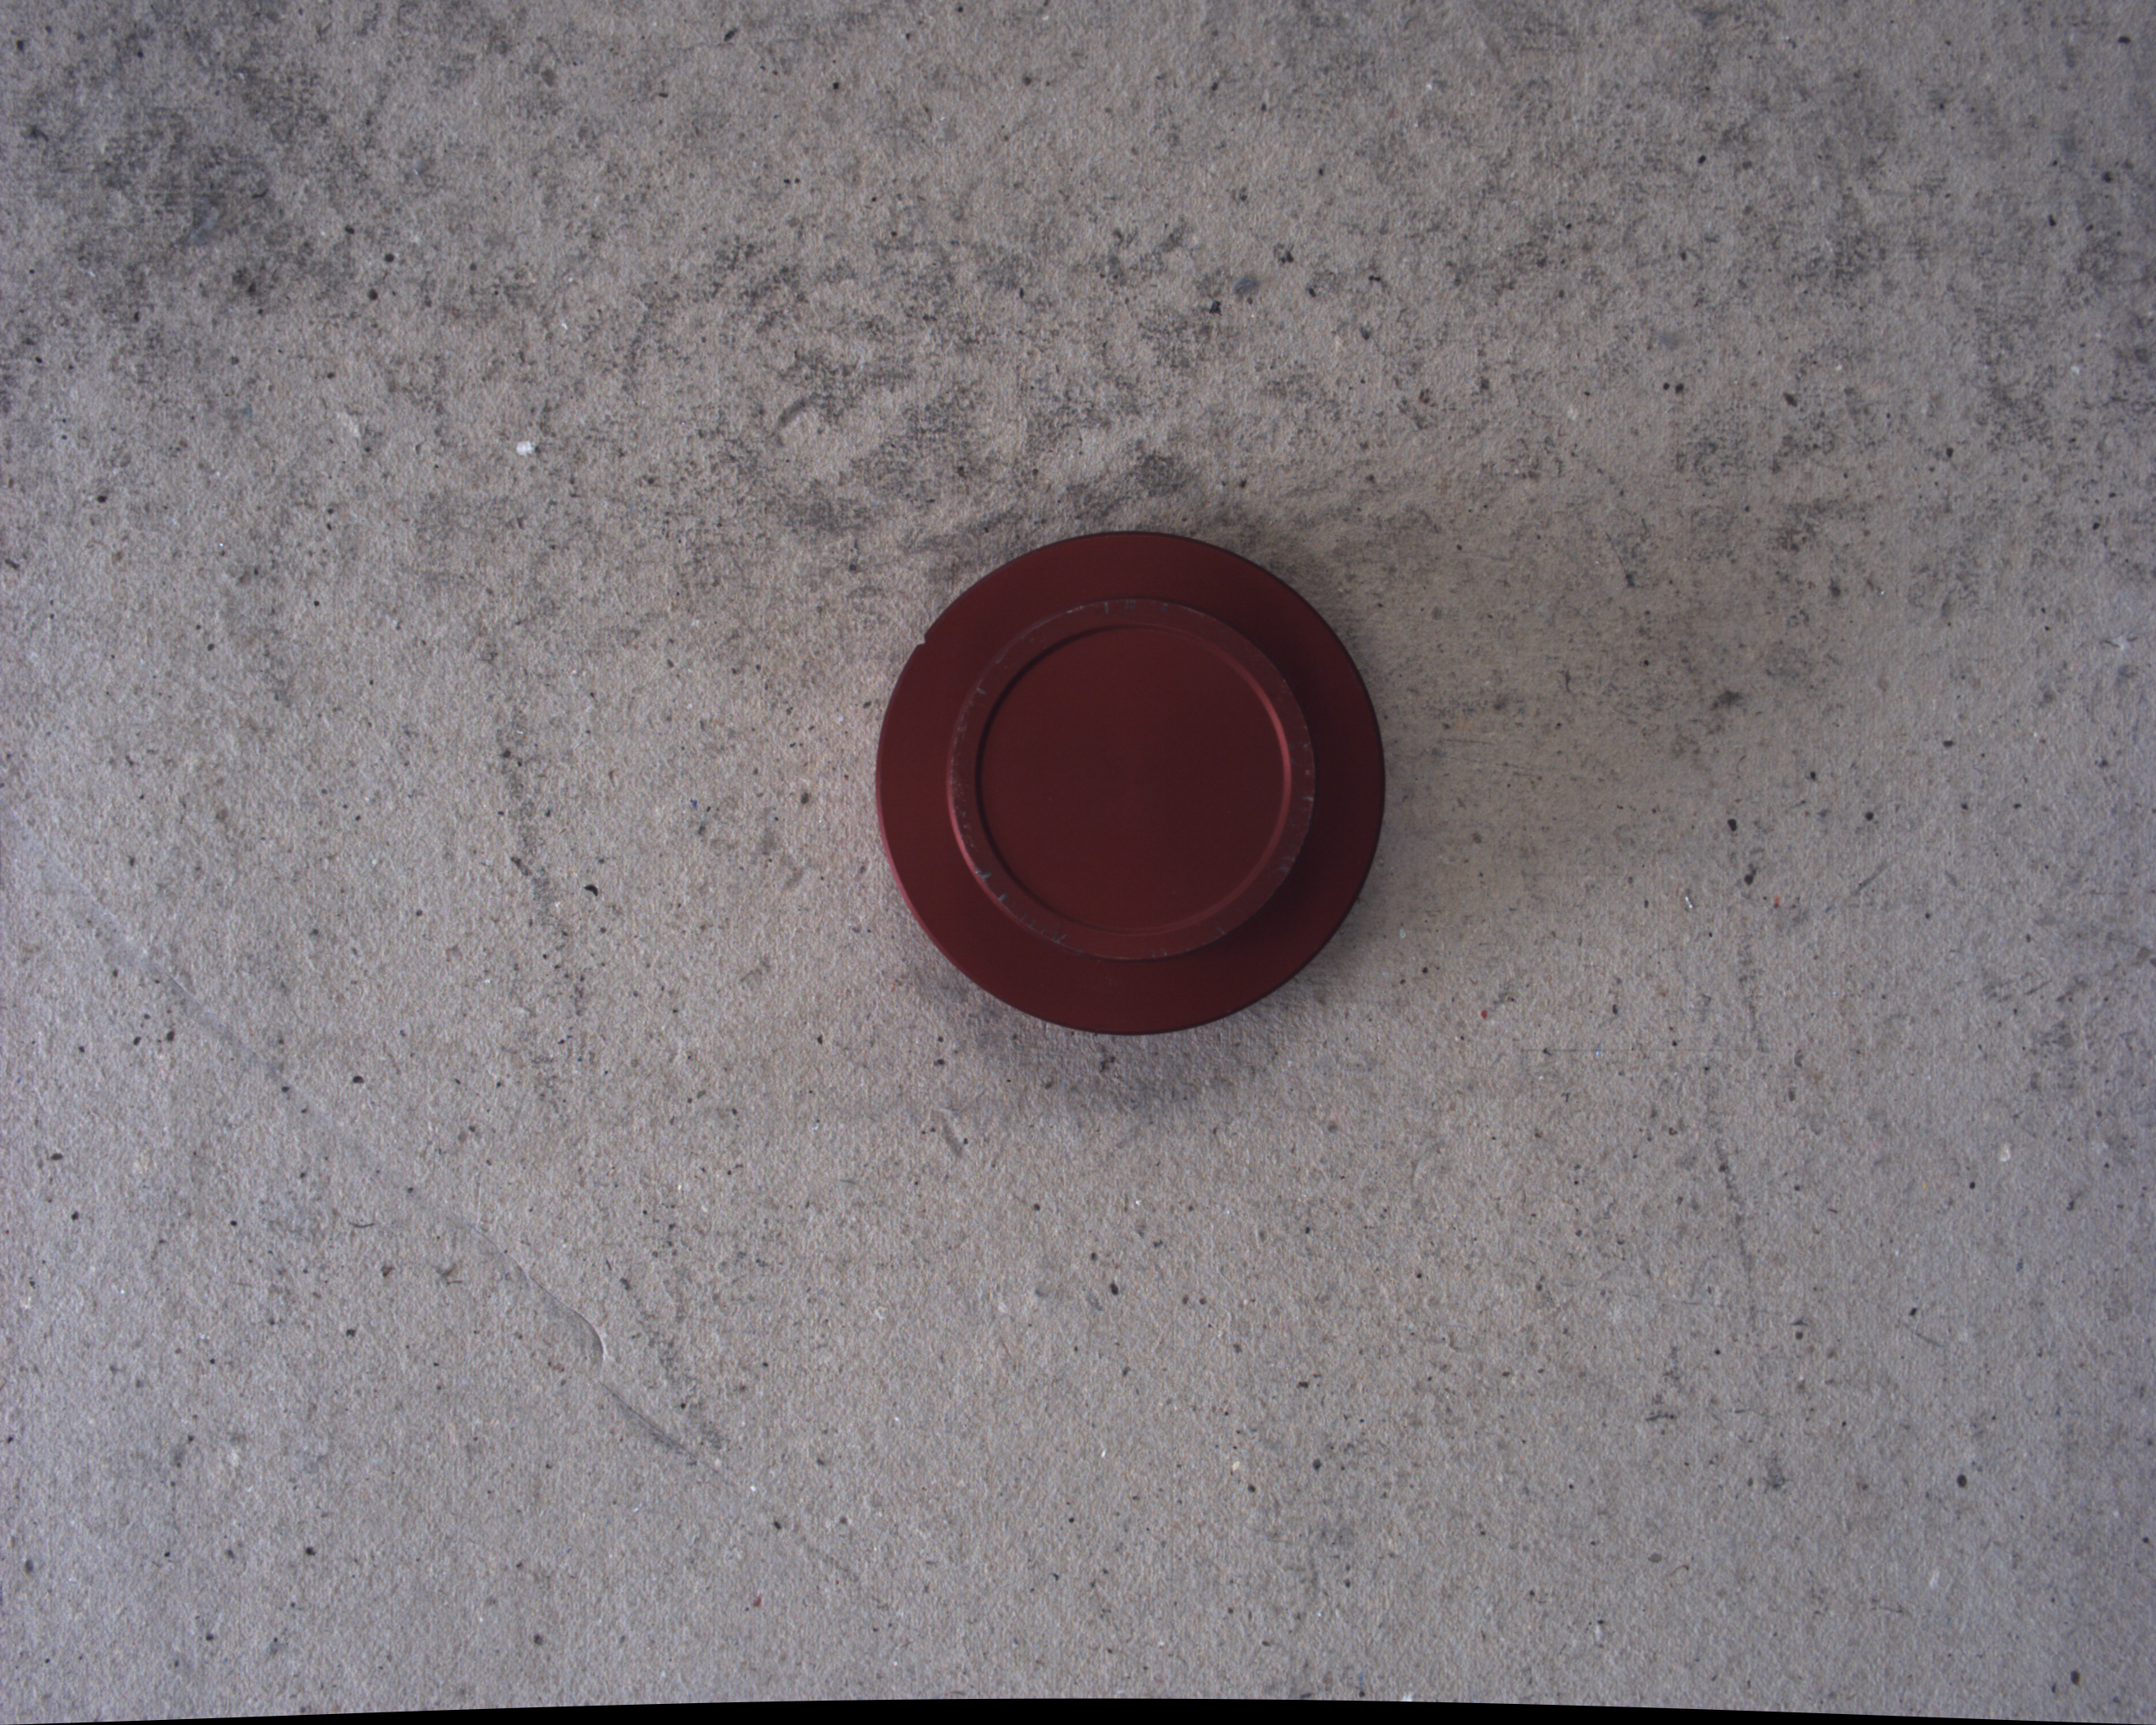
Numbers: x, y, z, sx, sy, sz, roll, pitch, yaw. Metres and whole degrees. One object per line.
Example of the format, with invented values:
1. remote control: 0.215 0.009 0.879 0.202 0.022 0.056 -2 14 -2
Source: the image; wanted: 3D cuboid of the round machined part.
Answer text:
1. round machined part: 0.010 -0.015 0.403 0.099 0.042 0.097 0 90 0
